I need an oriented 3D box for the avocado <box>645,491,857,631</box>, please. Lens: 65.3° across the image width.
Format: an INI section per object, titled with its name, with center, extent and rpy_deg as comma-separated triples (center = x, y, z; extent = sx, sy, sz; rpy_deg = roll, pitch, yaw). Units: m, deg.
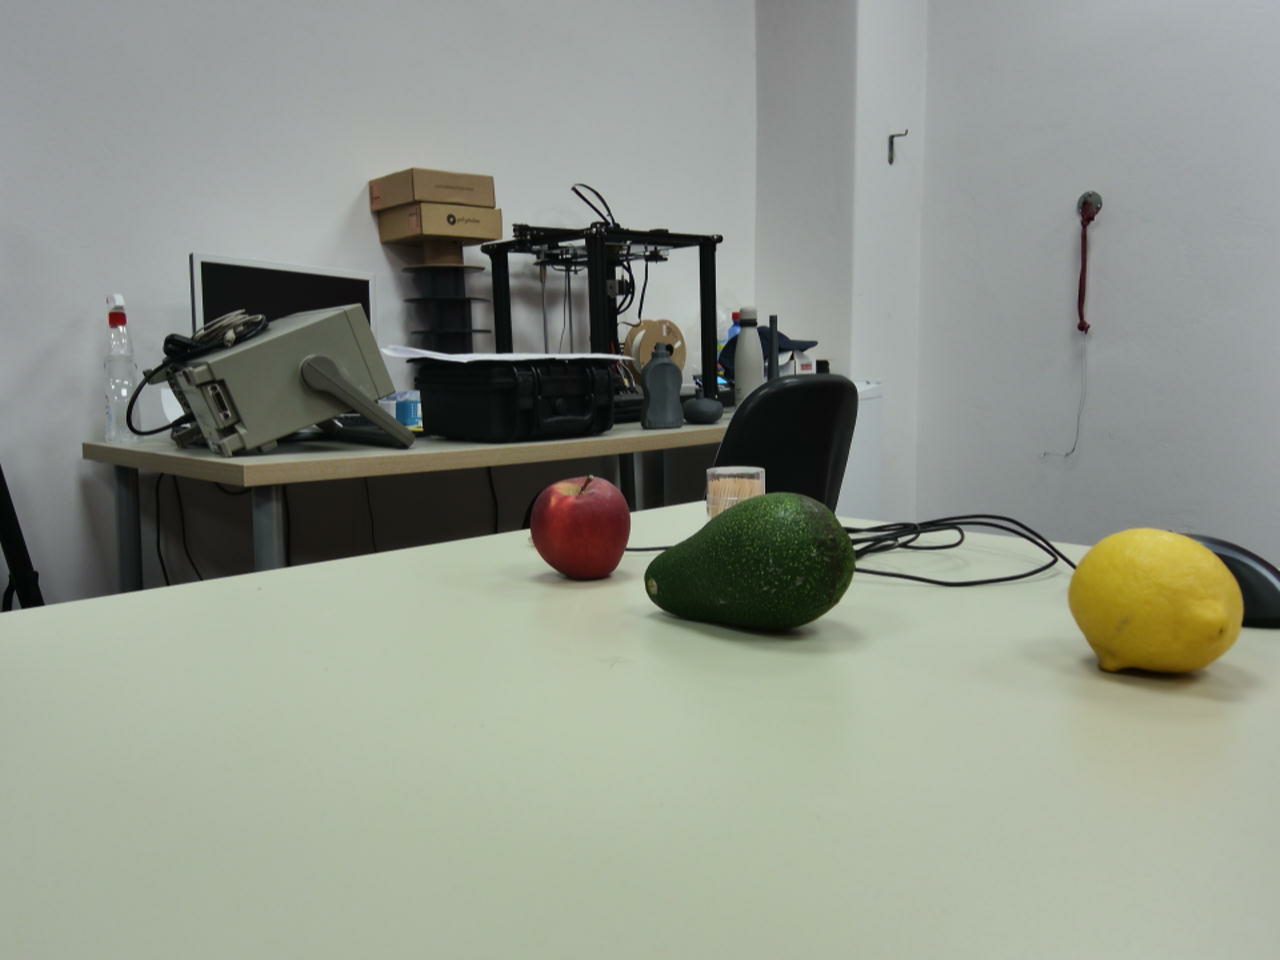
[avocado]
center = 0.065, 0.043, 0.557
extent = 0.074, 0.076, 0.123
rpy_deg = -3, 6, -36
